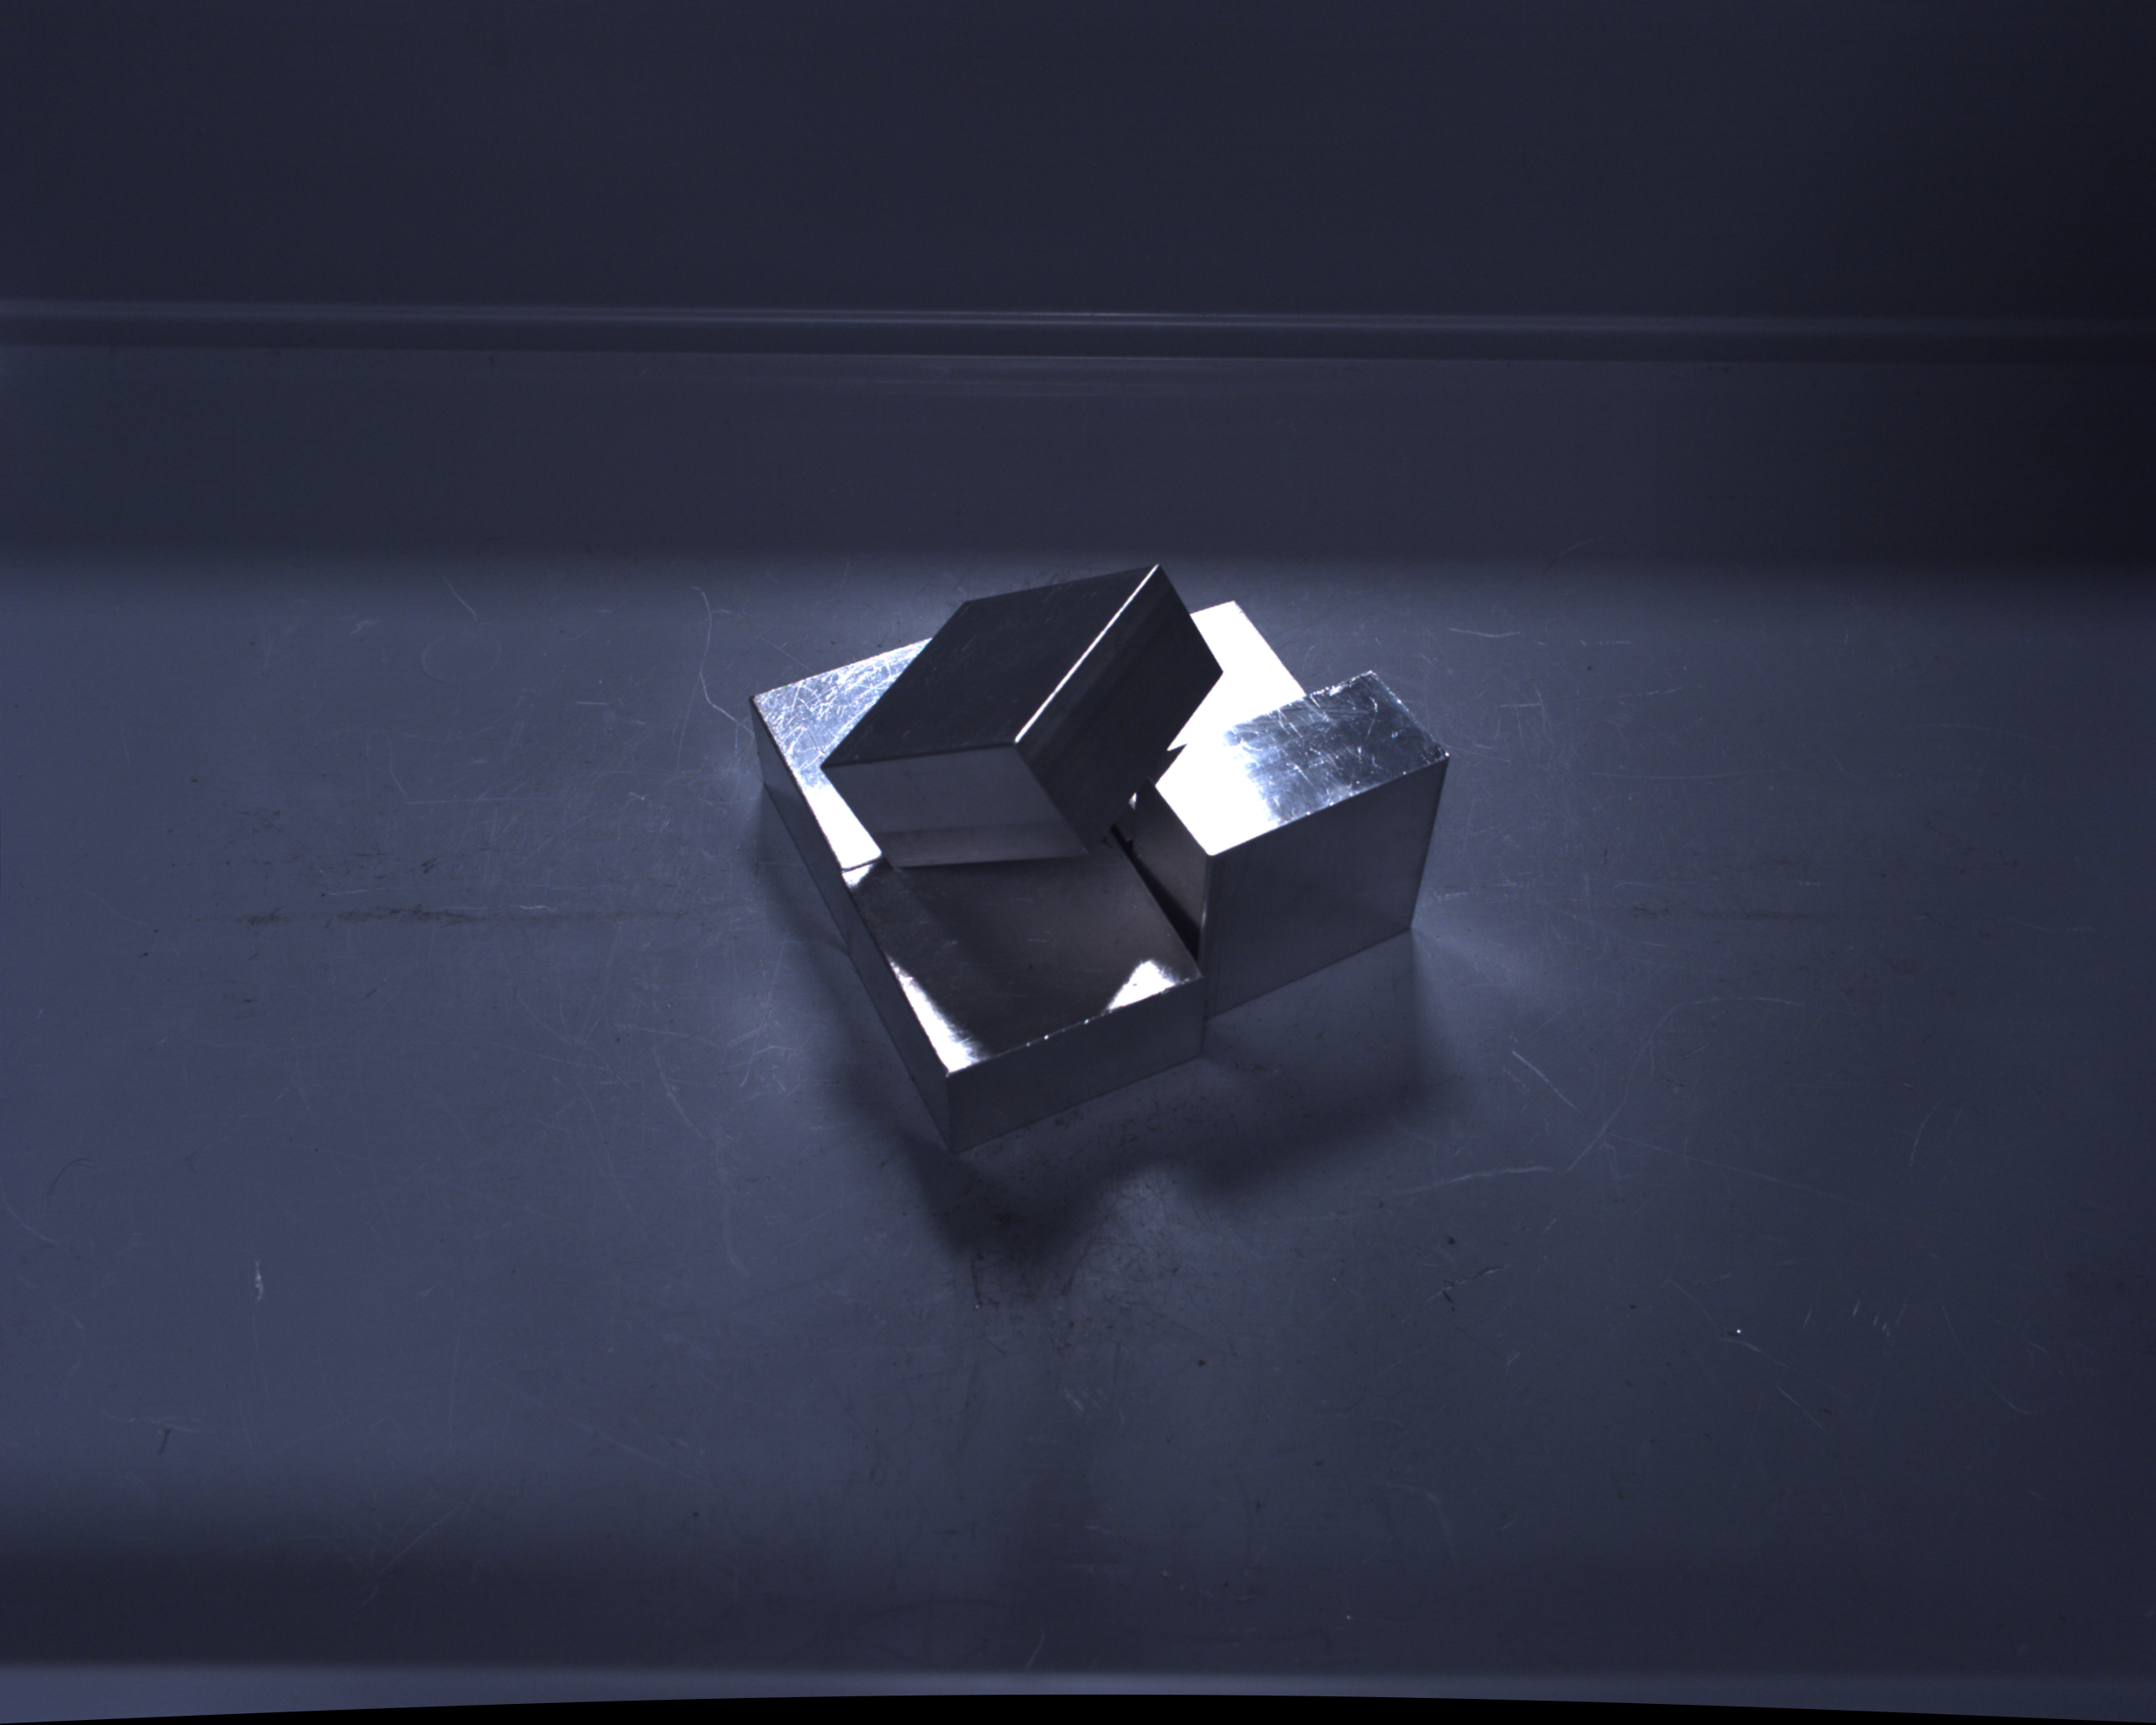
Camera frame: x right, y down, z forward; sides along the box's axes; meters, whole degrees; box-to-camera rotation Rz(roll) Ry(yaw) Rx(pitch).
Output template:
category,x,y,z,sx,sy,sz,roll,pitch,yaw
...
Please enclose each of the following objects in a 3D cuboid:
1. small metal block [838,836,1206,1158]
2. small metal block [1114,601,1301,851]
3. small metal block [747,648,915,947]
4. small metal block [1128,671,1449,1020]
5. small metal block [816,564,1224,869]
category,x,y,z,sx,sy,sz,roll,pitch,yaw
small metal block,-0.011,0.020,0.386,0.050,0.025,0.050,-20,53,-16
small metal block,0.020,-0.021,0.421,0.050,0.025,0.050,-20,53,-16
small metal block,-0.032,-0.015,0.415,0.050,0.025,0.050,-20,53,-16
small metal block,0.037,-0.002,0.389,0.050,0.050,0.025,-22,54,-19
small metal block,-0.010,-0.026,0.376,0.050,0.025,0.050,-4,39,44
